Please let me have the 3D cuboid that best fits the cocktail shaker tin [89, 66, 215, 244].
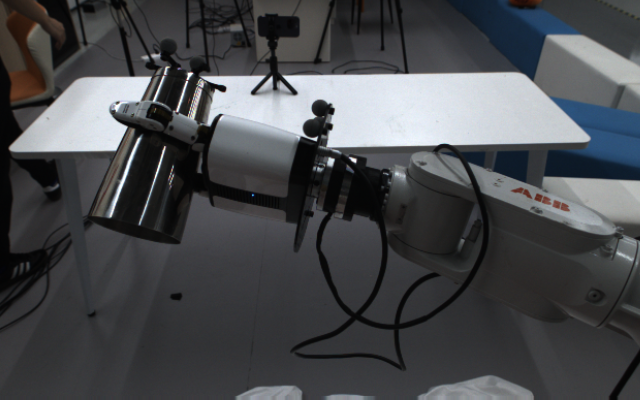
[{"bbox_3d":[-0.167,-0.047,0.504,0.093,0.093,0.170,10,73,11],"label":"cocktail shaker tin"}]
